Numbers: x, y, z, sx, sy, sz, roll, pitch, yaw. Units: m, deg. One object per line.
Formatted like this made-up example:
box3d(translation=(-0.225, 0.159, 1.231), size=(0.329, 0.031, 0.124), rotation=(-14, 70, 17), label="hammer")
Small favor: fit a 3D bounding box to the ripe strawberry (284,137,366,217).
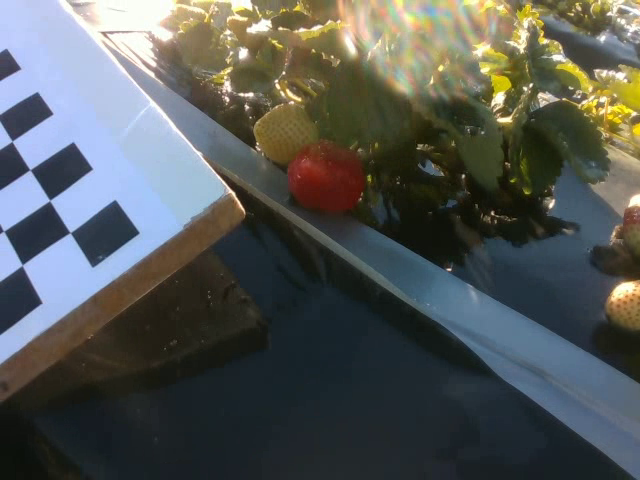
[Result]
box3d(translation=(0.001, -0.035, 0.318), size=(0.045, 0.049, 0.063), rotation=(-19, -4, 7), label="ripe strawberry")
